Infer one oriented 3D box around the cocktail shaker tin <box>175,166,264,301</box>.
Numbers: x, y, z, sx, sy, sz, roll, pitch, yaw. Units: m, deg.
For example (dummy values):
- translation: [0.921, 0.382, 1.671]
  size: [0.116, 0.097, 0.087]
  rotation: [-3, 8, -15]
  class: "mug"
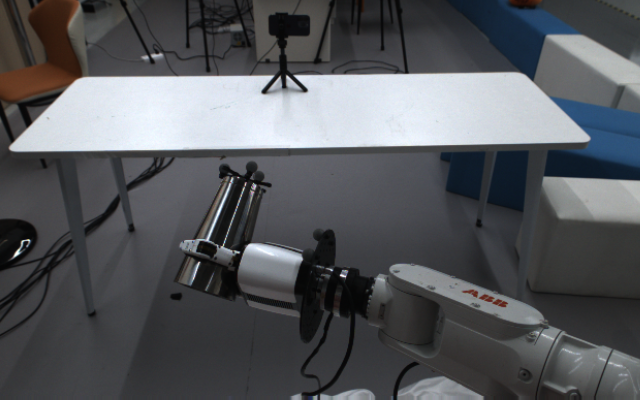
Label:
- translation: [-0.145, 0.054, 0.716]
  size: [0.093, 0.093, 0.170]
  rotation: [13, 72, 16]
  class: "cocktail shaker tin"
